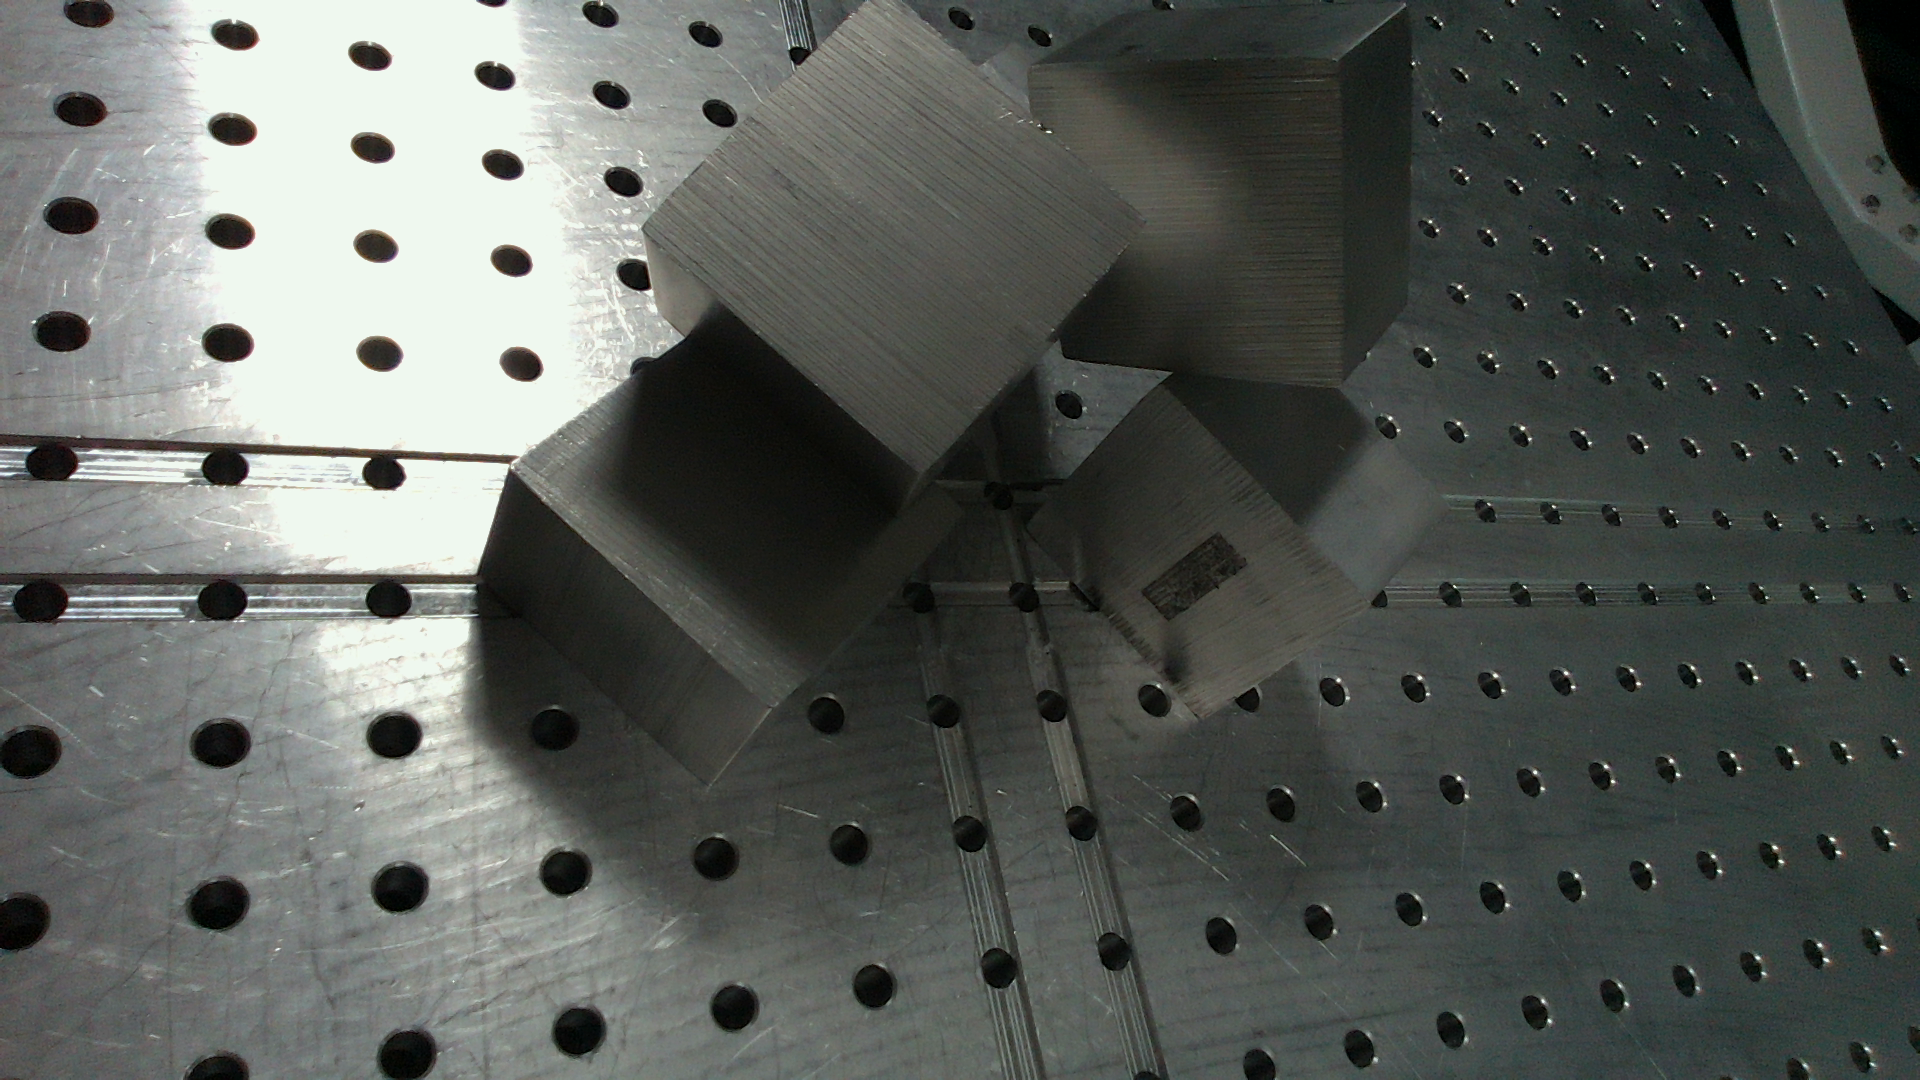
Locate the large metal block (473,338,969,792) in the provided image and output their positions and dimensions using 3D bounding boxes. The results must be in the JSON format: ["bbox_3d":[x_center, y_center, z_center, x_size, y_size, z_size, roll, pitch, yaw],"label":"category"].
[{"bbox_3d":[-0.059,0.000,0.344,0.080,0.050,0.080,43,51,1],"label":"large metal block"}]

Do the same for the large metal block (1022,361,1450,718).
[{"bbox_3d":[0.078,-0.007,0.401,0.080,0.080,0.050,47,51,5],"label":"large metal block"}]

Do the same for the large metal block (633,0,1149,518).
[{"bbox_3d":[-0.017,-0.065,0.323,0.080,0.050,0.080,41,76,0],"label":"large metal block"}]

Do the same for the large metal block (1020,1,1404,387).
[{"bbox_3d":[0.068,-0.091,0.358,0.080,0.080,0.050,10,37,31],"label":"large metal block"}]

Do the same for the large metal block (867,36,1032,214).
[{"bbox_3d":[-0.002,-0.089,0.409,0.050,0.080,0.080,41,51,0],"label":"large metal block"}]
